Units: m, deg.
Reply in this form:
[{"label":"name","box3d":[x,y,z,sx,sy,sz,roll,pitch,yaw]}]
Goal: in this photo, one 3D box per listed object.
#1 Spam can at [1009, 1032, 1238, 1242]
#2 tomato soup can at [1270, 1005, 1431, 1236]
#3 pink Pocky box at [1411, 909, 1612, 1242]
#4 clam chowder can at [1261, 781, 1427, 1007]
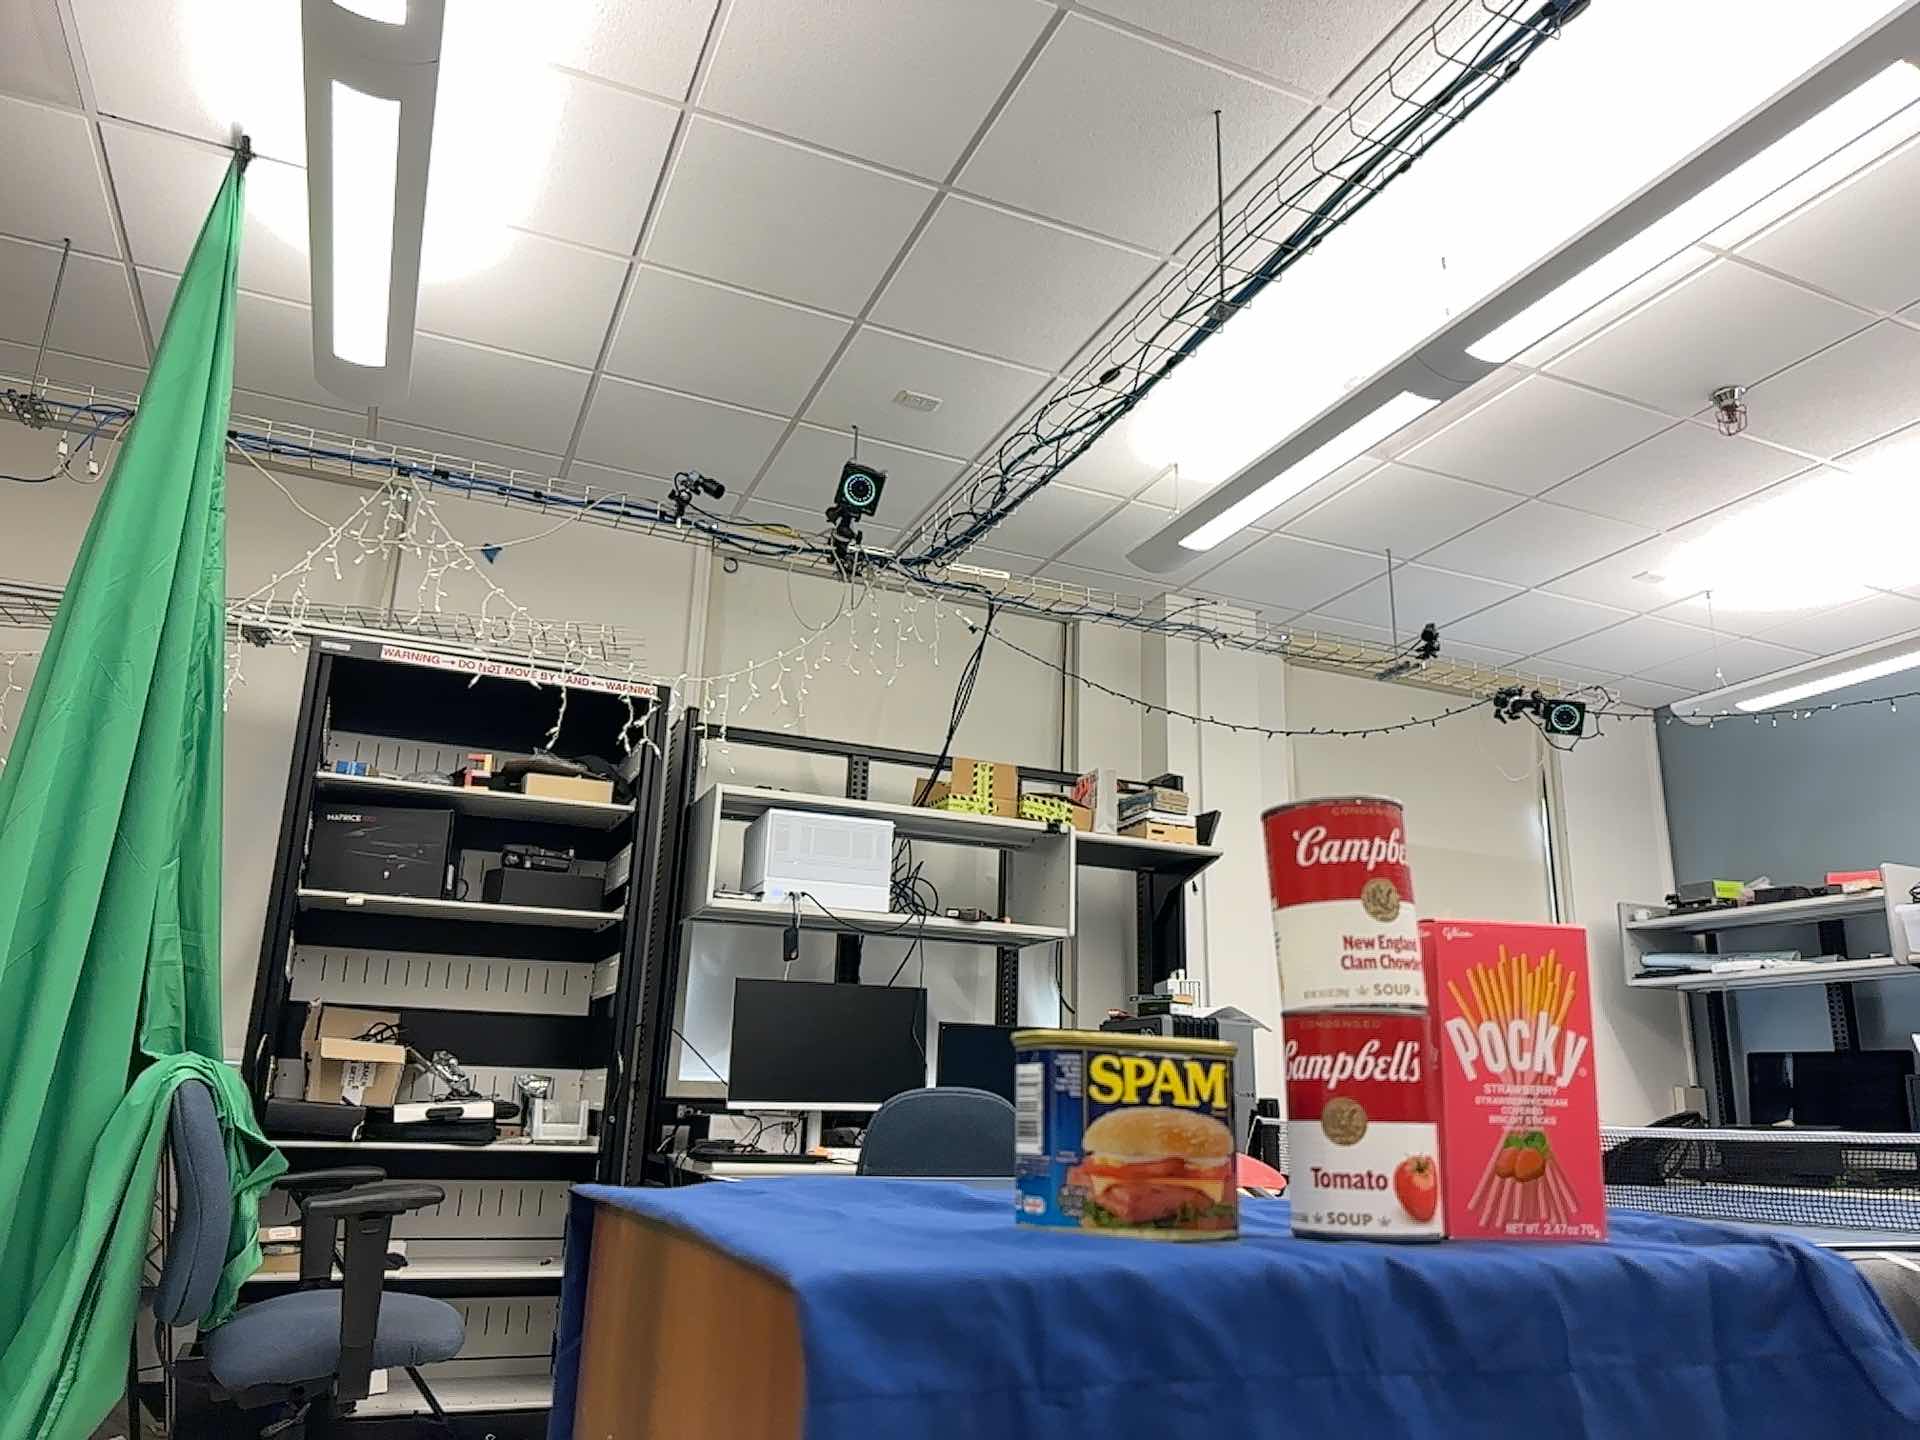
[{"label":"Spam can","box3d":[0.073,0.186,0.605,0.100,0.083,0.056,9,-16,-23]},{"label":"tomato soup can","box3d":[0.184,0.188,0.639,0.067,0.102,0.067,1,-15,0]},{"label":"pink Pocky box","box3d":[0.266,0.170,0.657,0.084,0.155,0.029,3,-12,-11]},{"label":"clam chowder can","box3d":[0.186,0.087,0.658,0.068,0.102,0.068,-2,-17,-1]}]
